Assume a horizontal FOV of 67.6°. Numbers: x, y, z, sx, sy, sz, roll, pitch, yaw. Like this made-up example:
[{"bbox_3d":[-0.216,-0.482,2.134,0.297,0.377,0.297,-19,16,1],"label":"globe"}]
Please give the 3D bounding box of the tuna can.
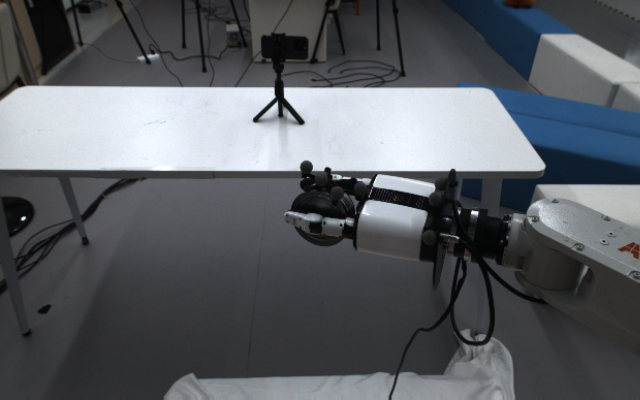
[{"bbox_3d":[0.007,0.018,0.671,0.085,0.085,0.034,16,28,19],"label":"tuna can"}]
